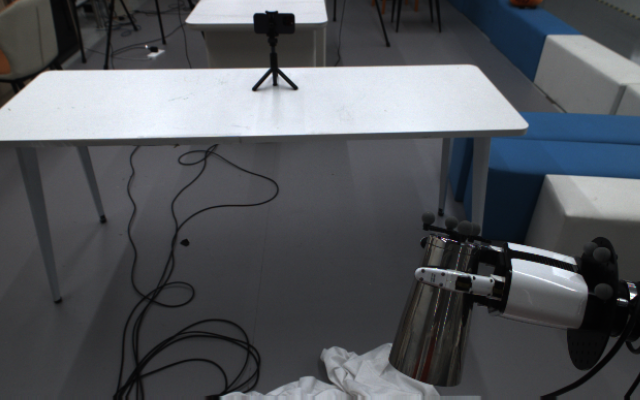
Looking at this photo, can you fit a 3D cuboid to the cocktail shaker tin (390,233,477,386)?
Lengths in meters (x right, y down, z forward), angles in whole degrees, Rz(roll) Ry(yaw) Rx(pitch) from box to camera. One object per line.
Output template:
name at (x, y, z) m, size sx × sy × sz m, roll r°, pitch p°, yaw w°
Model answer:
cocktail shaker tin at (0.154, 0.130, 0.615) m, size 0.093 × 0.170 × 0.093 m, roll 12°, pitch 3°, yaw -1°
